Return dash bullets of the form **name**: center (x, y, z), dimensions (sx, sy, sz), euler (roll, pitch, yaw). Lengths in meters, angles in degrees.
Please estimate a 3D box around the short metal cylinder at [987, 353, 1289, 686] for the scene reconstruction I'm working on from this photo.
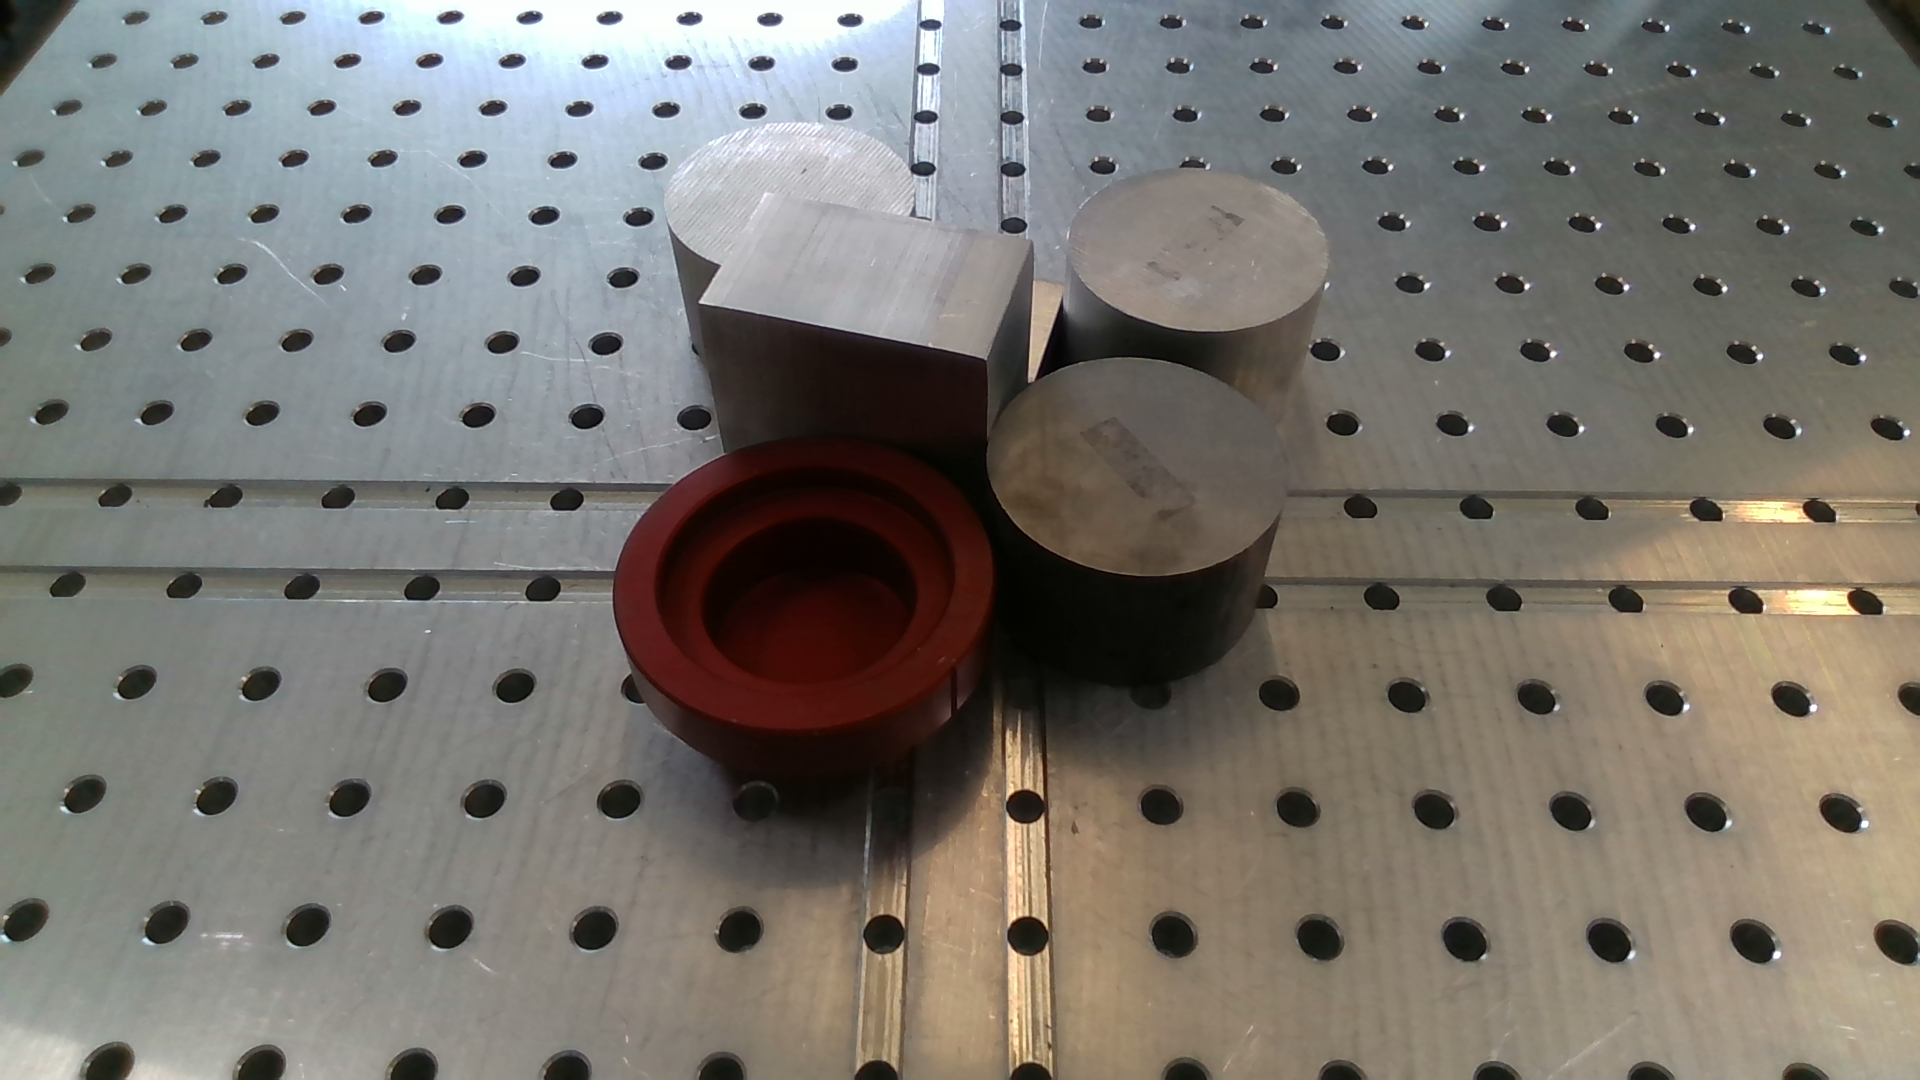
- **short metal cylinder**: center (0.047, -0.006, 0.386), dimensions (0.080, 0.050, 0.080), euler (0, 50, 0)

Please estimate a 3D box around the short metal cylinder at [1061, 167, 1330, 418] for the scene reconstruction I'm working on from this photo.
- **short metal cylinder**: center (0.073, -0.075, 0.443), dimensions (0.080, 0.050, 0.080), euler (0, 50, 0)

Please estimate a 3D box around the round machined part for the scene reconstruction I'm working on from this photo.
- **round machined part**: center (-0.040, 0.021, 0.369), dimensions (0.098, 0.042, 0.098), euler (0, 50, 0)

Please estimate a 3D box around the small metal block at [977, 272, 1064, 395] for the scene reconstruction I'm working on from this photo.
- **small metal block**: center (0.005, -0.065, 0.450), dimensions (0.050, 0.025, 0.050), euler (11, 51, 9)

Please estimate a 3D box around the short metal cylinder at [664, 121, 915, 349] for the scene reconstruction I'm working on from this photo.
- **short metal cylinder**: center (-0.054, -0.095, 0.460), dimensions (0.080, 0.050, 0.080), euler (0, 50, 0)

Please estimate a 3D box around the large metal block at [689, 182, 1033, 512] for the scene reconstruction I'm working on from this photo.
- **large metal block**: center (-0.025, -0.049, 0.398), dimensions (0.080, 0.080, 0.050), euler (12, 51, 10)
